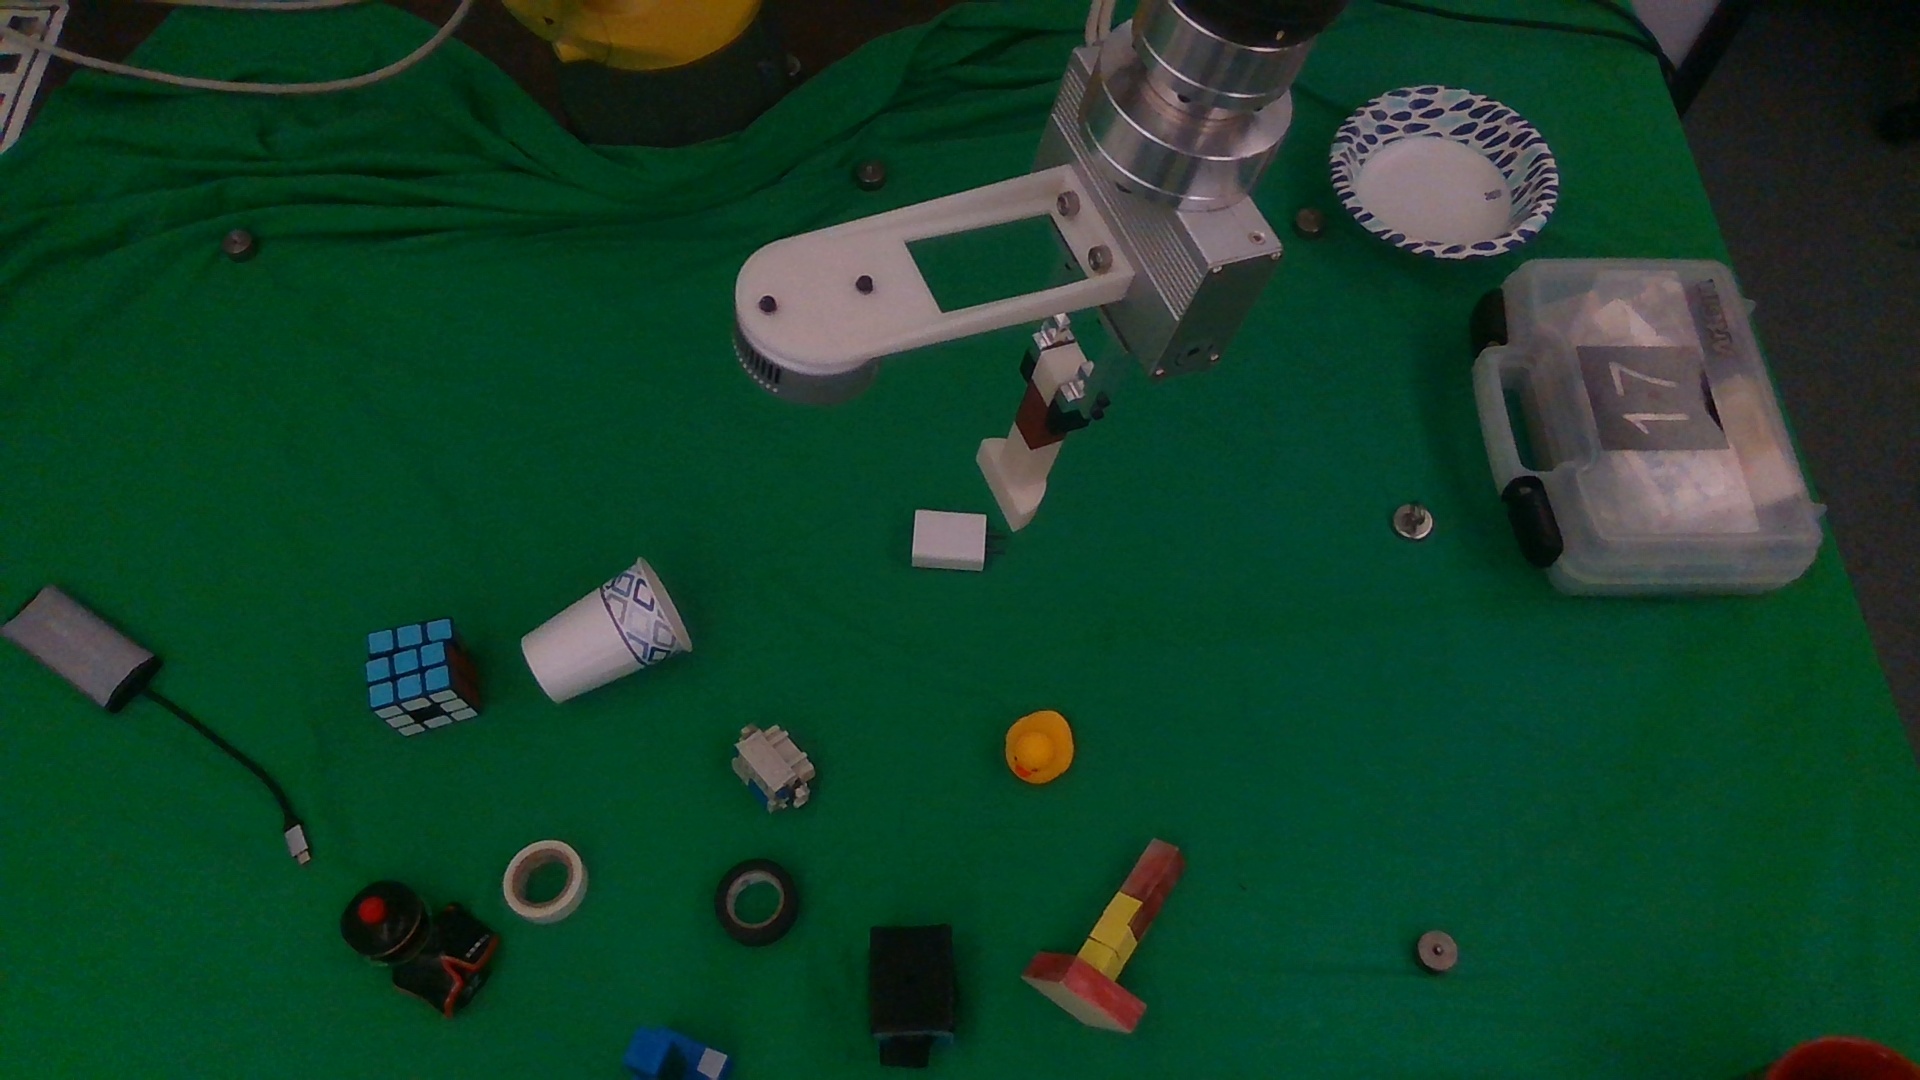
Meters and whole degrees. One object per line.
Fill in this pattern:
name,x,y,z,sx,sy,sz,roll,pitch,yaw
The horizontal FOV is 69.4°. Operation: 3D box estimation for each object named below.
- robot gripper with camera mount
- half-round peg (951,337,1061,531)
robot gripper with camera mount,-0.004,-0.087,0.580,0.193,0.159,0.119,-18,67,-22
half-round peg,0.027,-0.056,0.701,0.031,0.122,0.054,-30,70,-22
